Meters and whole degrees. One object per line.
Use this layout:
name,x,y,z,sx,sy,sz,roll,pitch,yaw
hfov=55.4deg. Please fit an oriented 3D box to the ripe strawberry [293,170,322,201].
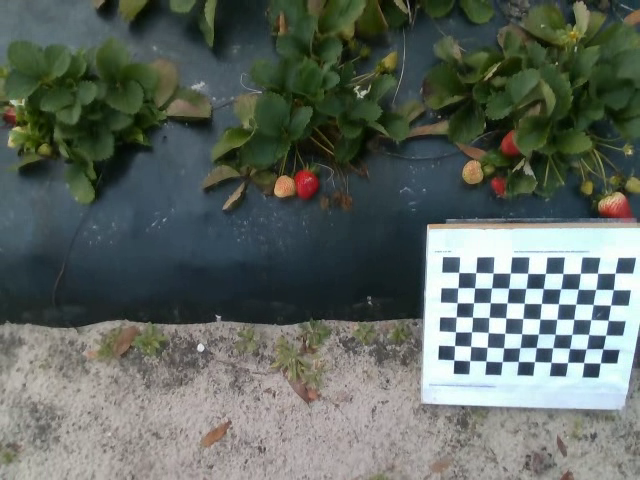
ripe strawberry,-0.020,-0.070,0.763,0.034,0.042,0.033,30,-41,-5
